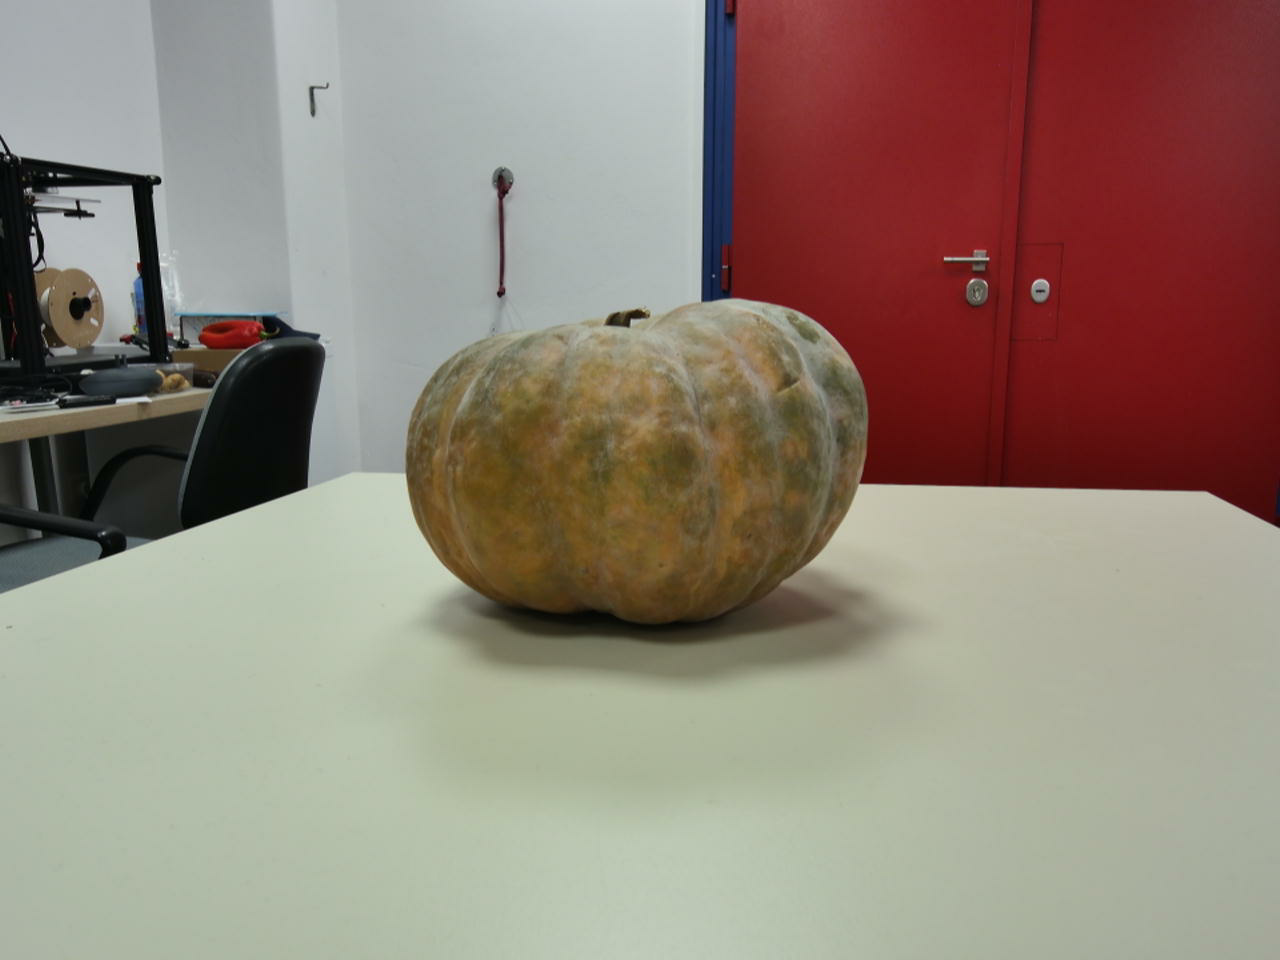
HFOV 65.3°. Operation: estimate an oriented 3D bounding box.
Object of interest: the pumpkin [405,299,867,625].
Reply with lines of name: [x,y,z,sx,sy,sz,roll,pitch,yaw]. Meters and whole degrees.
pumpkin: [-0.007,-0.014,0.558,0.252,0.168,0.252,0,7,0]
